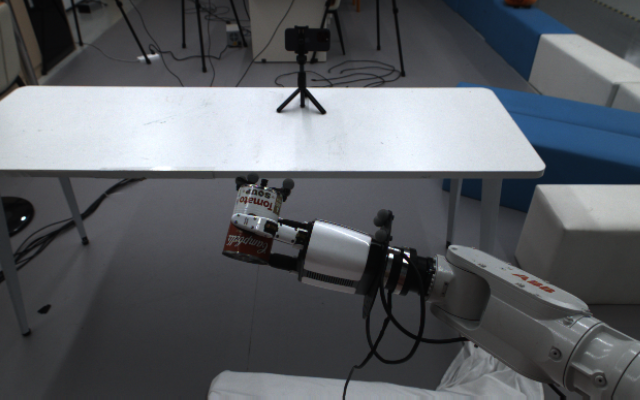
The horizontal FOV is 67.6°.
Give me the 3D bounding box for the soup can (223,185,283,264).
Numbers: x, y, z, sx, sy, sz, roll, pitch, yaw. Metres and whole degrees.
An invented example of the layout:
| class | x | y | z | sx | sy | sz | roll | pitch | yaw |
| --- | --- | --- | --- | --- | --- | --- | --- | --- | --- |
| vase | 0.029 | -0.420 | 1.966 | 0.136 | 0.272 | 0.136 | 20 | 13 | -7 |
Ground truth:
| class | x | y | z | sx | sy | sz | roll | pitch | yaw |
| --- | --- | --- | --- | --- | --- | --- | --- | --- | --- |
| soup can | -0.095 | 0.037 | 0.697 | 0.067 | 0.067 | 0.101 | 9 | 74 | 9 |
